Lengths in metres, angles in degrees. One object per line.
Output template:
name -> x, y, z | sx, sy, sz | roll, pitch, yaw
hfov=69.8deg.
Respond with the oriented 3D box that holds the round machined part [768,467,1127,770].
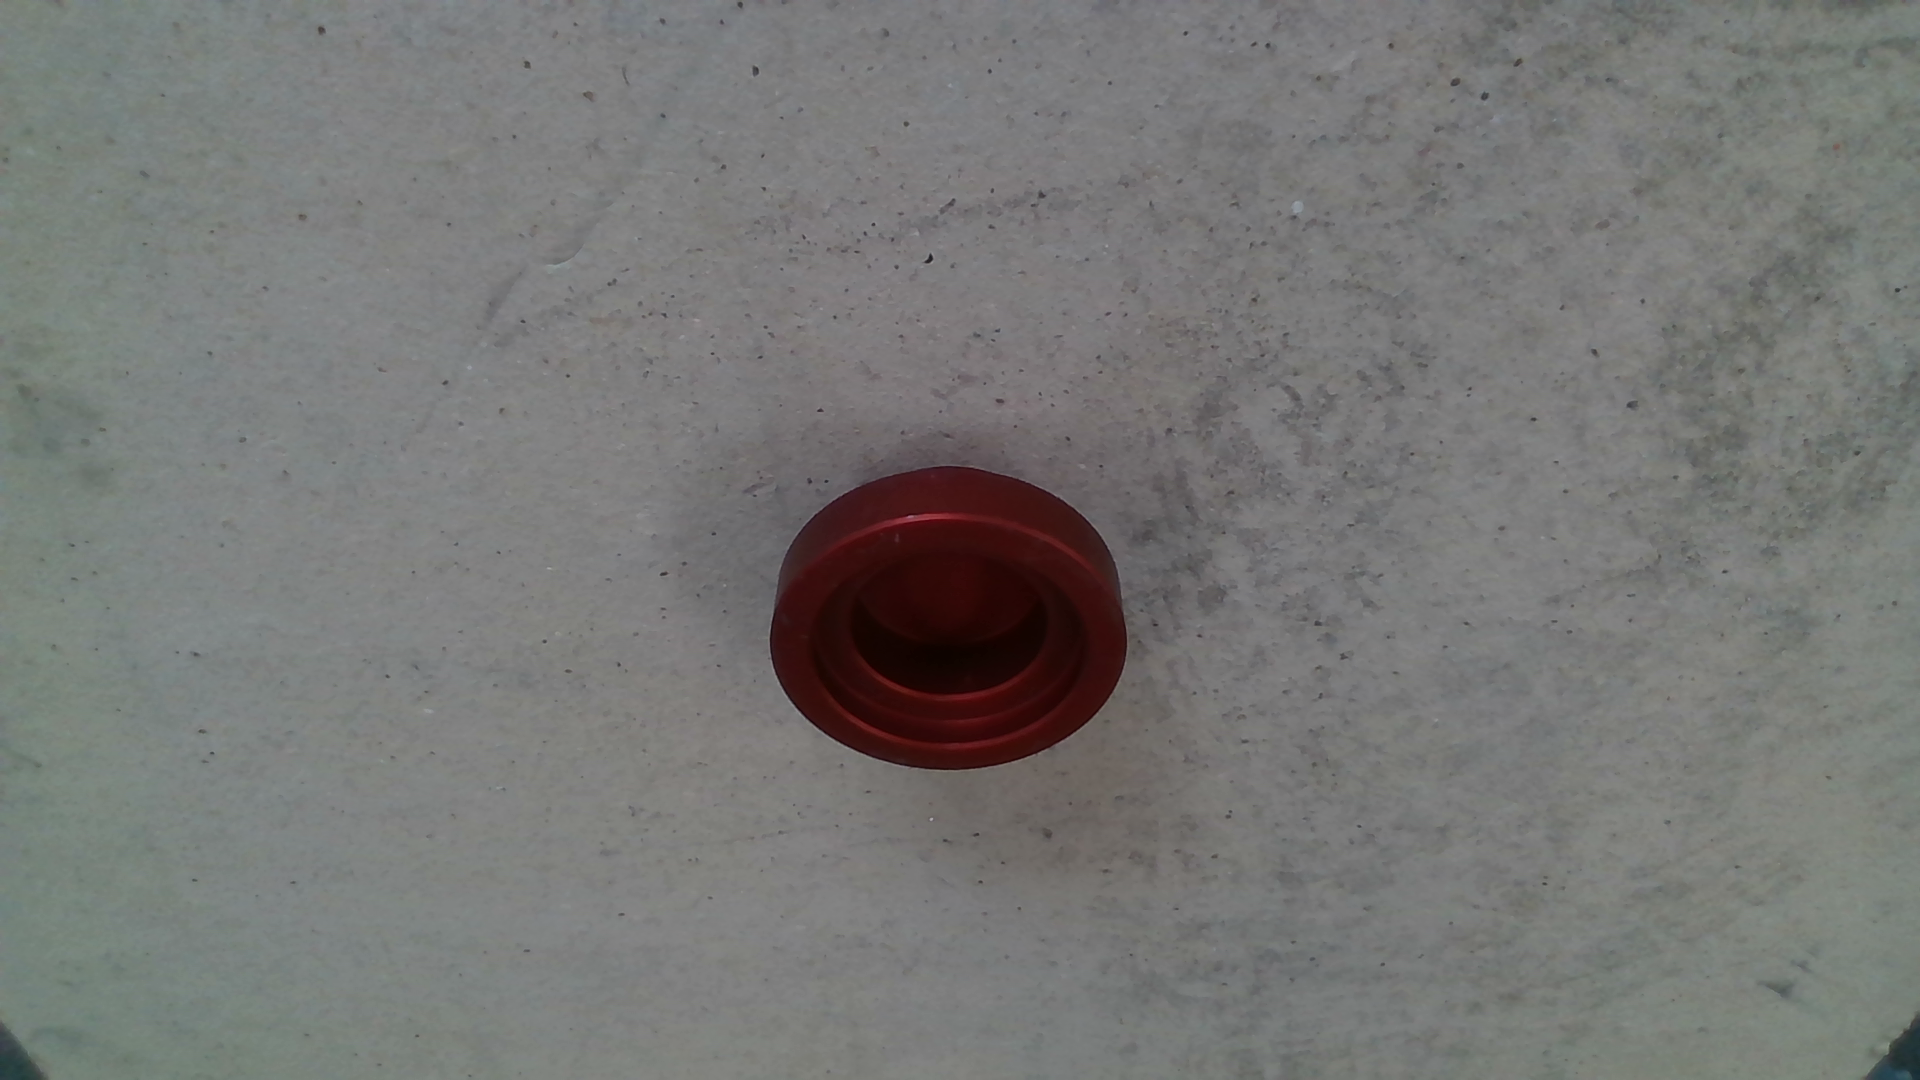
round machined part -> -0.003, 0.018, 0.392 | 0.098, 0.042, 0.098 | 0, 130, 0
